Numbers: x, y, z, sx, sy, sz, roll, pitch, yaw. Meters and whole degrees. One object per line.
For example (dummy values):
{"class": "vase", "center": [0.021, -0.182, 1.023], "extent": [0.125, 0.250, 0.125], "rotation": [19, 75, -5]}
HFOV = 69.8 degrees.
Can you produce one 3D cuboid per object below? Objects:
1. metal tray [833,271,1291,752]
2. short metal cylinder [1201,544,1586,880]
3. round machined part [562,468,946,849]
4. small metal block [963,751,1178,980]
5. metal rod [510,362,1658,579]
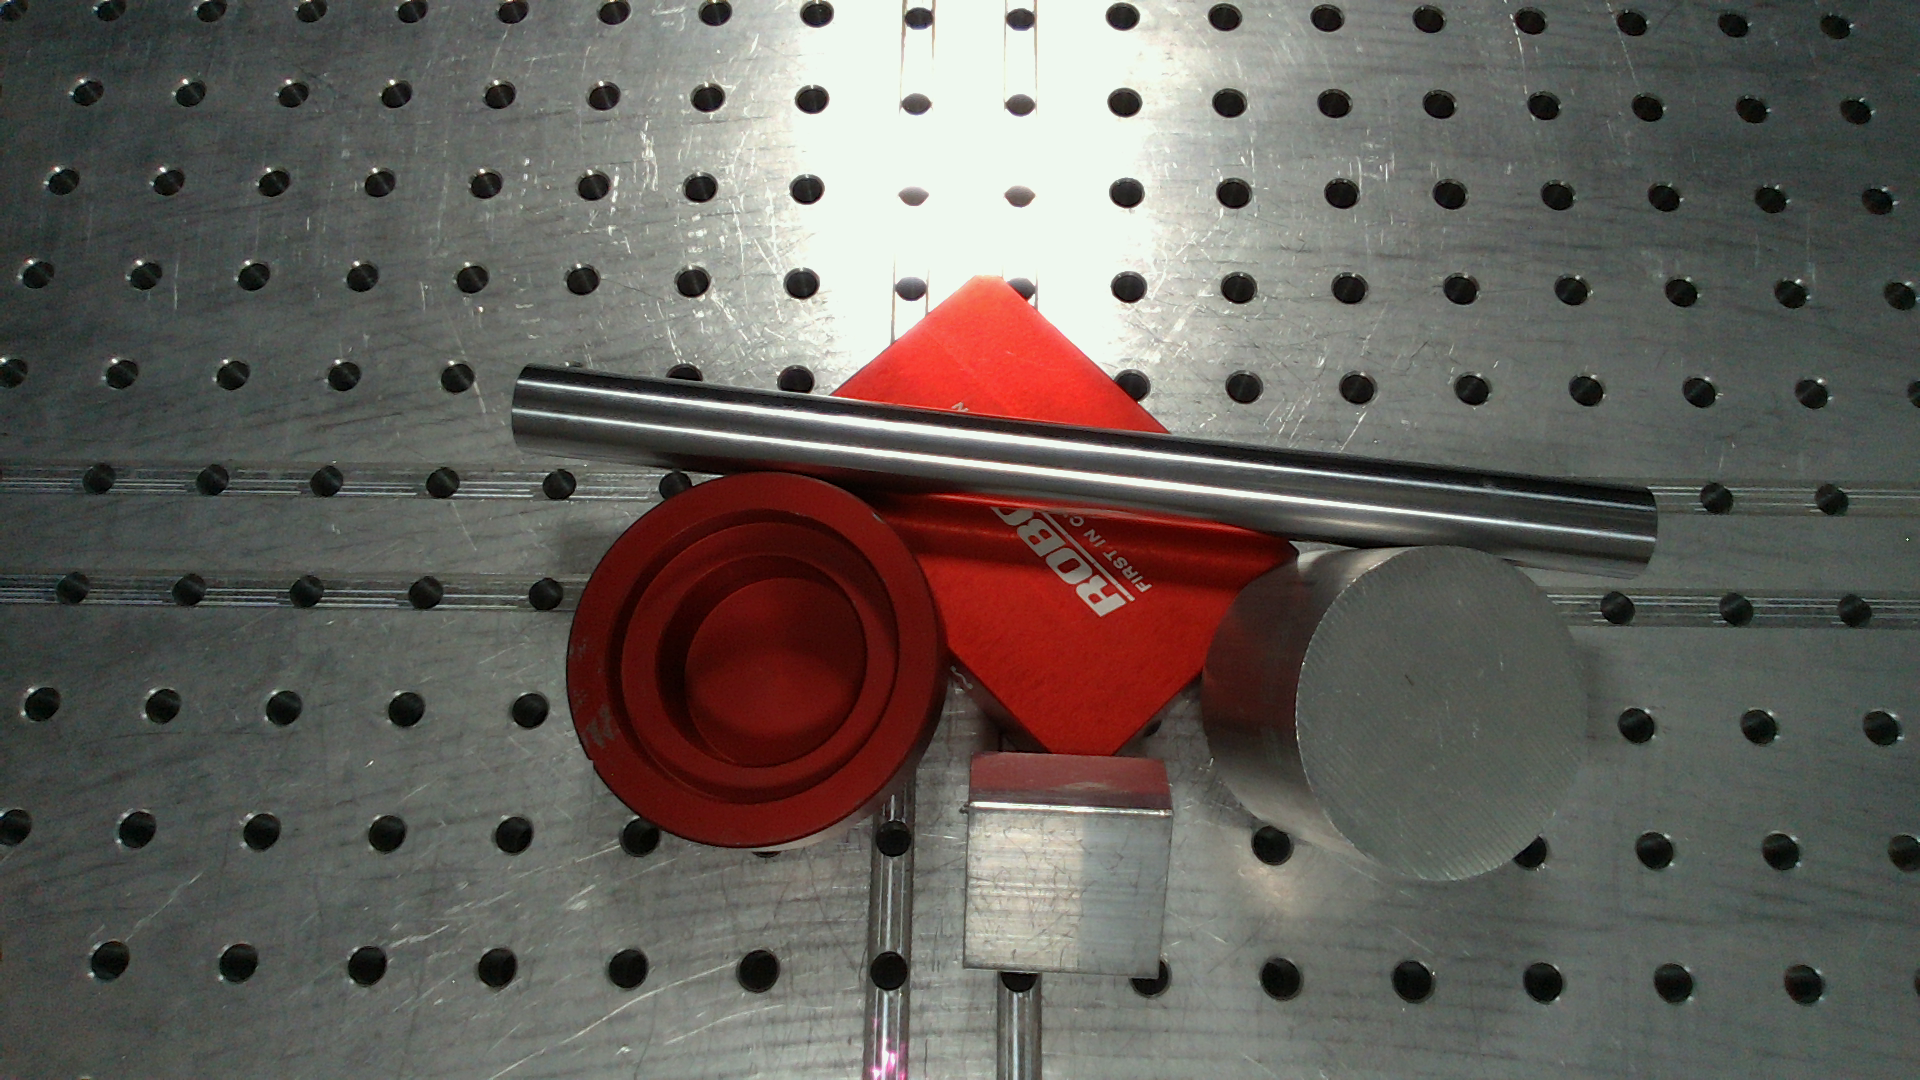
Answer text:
{"class": "metal tray", "center": [0.021, -0.005, 0.398], "extent": [0.090, 0.030, 0.130], "rotation": [-42, 75, -14]}
{"class": "short metal cylinder", "center": [0.109, 0.041, 0.353], "extent": [0.080, 0.050, 0.080], "rotation": [0, 89, -17]}
{"class": "round machined part", "center": [-0.052, 0.033, 0.371], "extent": [0.098, 0.042, 0.098], "rotation": [-1, 76, 5]}
{"class": "small metal block", "center": [0.027, 0.083, 0.352], "extent": [0.050, 0.025, 0.050], "rotation": [2, 113, 0]}
{"class": "metal rod", "center": [0.030, -0.019, 0.371], "extent": [0.300, 0.025, 0.025], "rotation": [7, 70, 2]}
